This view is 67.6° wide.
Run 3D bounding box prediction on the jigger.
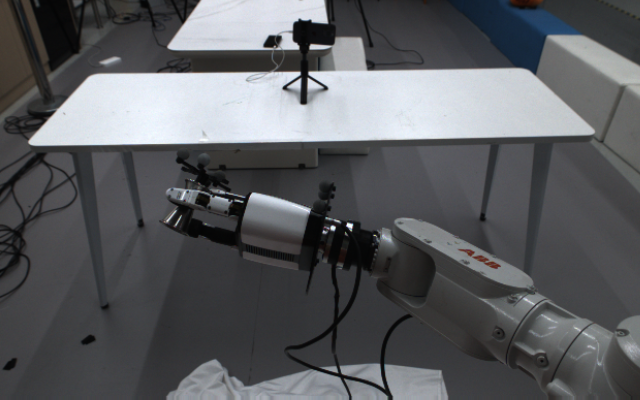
[{"bbox_3d":[-0.183,0.008,0.659,0.043,0.043,0.071,20,73,23],"label":"jigger"}]
